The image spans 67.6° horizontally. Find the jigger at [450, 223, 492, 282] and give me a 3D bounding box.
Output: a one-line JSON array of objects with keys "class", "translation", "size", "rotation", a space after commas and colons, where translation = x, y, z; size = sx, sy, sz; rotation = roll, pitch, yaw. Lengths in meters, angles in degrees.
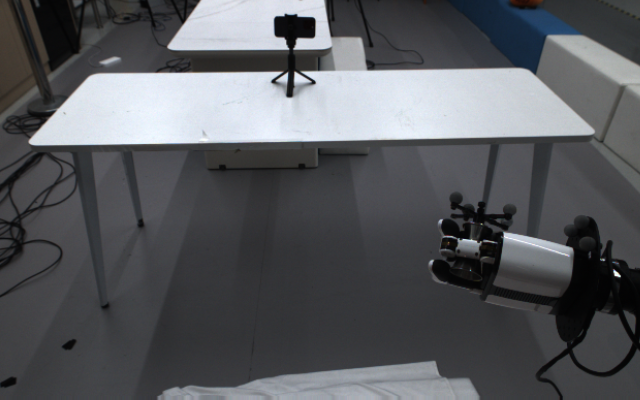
[{"class": "jigger", "translation": [0.205, 0.067, 0.643], "size": [0.043, 0.043, 0.071], "rotation": [13, 69, 15]}]
